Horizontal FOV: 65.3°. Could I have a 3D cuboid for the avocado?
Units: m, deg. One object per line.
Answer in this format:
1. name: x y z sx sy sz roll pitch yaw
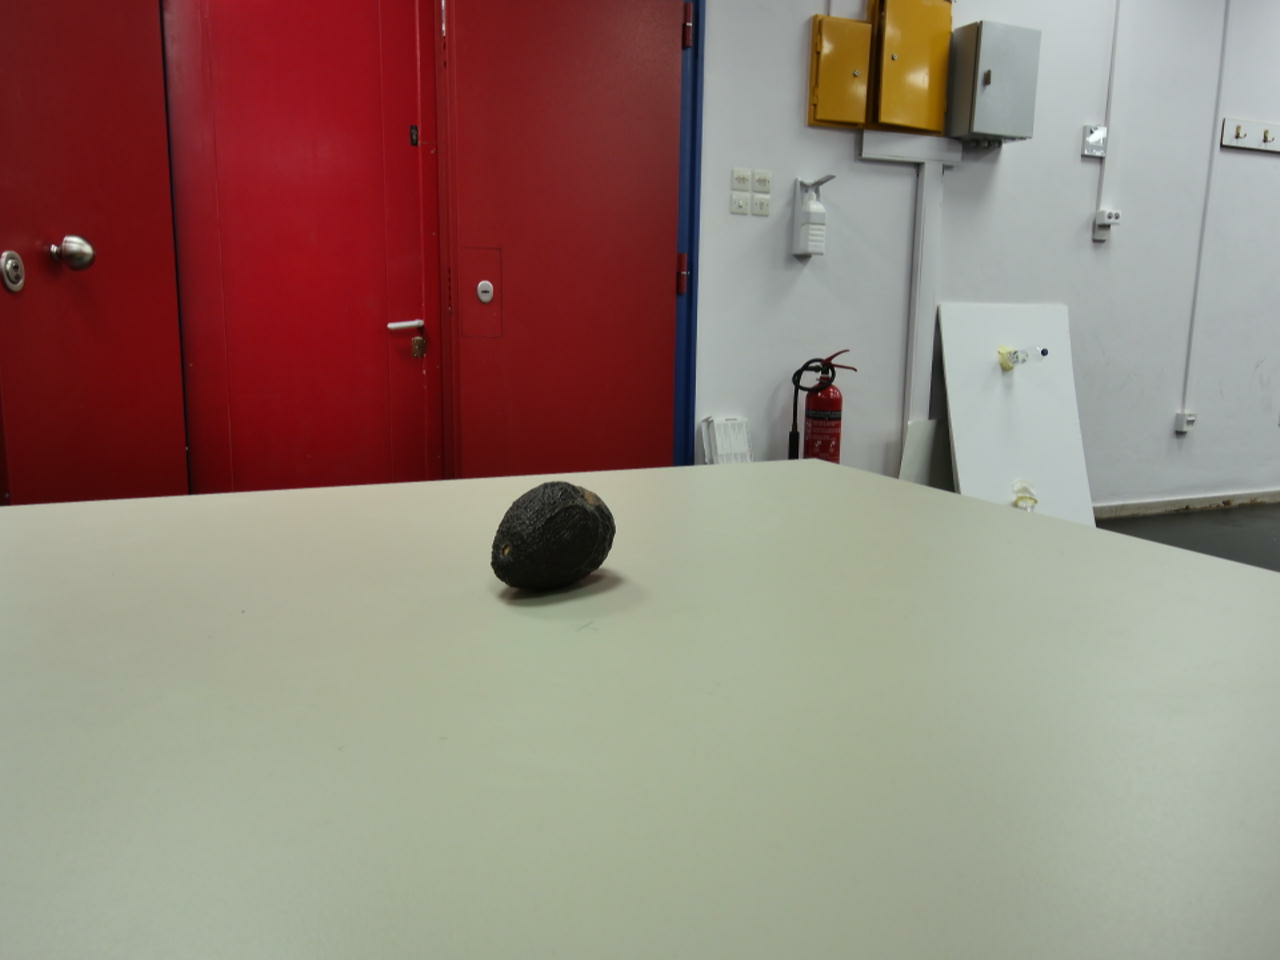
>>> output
1. avocado: -0.054 0.033 0.597 0.062 0.062 0.092 8 11 41
